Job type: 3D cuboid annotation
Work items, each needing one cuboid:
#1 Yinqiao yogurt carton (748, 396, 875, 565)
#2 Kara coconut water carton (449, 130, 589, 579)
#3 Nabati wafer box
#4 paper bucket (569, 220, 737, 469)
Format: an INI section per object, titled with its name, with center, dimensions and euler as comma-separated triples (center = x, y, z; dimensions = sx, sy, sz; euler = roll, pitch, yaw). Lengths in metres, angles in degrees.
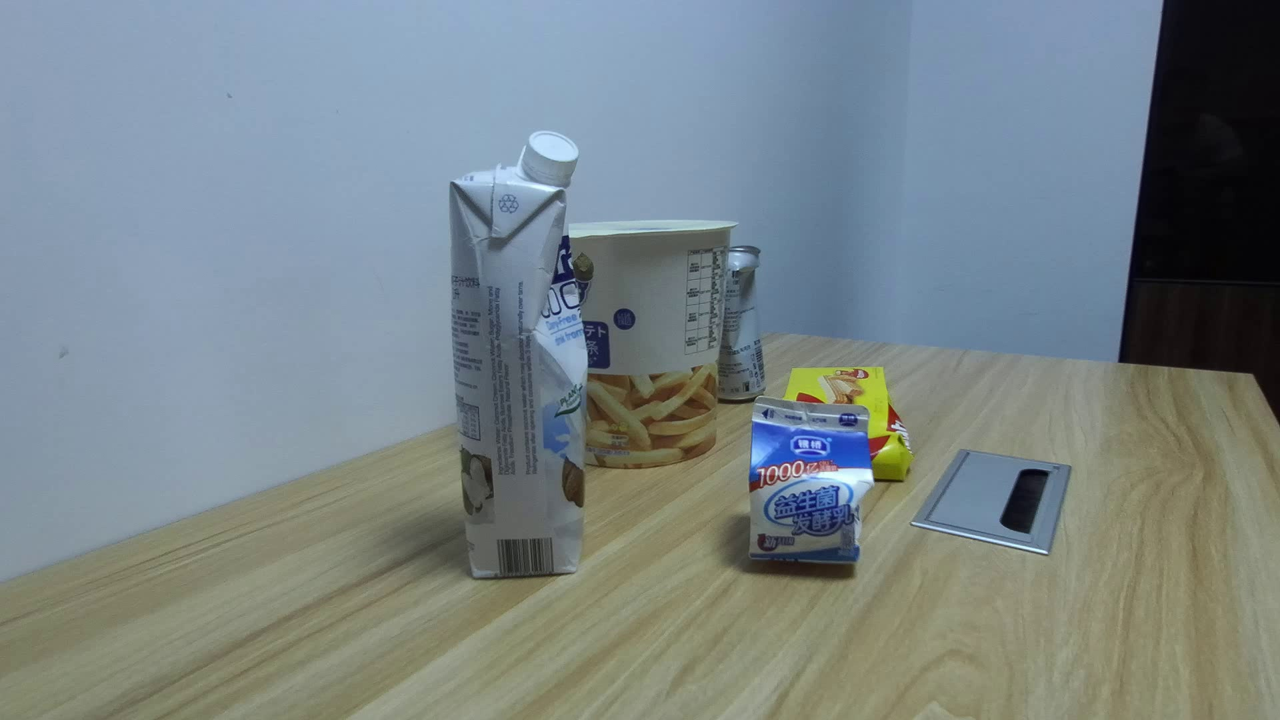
[Yinqiao yogurt carton]
center = 0.104, 0.071, 0.432
dimensions = 0.074, 0.097, 0.080
euler = 1, 6, 9
[Kara coconut water carton]
center = -0.071, -0.002, 0.423
dimensions = 0.078, 0.255, 0.083
euler = 2, 14, 10
[Nabati wafer box]
center = 0.181, 0.051, 0.631
dimensions = 0.106, 0.042, 0.204
euler = 1, 14, 15
[paper bucket]
center = -0.006, -0.020, 0.628
dimensions = 0.198, 0.194, 0.198
euler = -2, 14, 1
